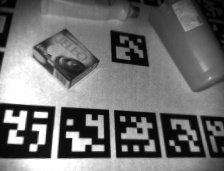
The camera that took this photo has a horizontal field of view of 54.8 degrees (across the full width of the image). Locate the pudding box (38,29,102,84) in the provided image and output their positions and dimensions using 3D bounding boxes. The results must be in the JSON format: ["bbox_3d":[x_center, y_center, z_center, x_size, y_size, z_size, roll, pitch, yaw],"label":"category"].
[{"bbox_3d":[-0.094,-0.071,0.487,0.113,0.038,0.090,45,55,5],"label":"pudding box"}]

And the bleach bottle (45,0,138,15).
[{"bbox_3d":[-0.043,-0.227,0.571,0.253,0.067,0.102,2,69,-19],"label":"bleach bottle"}]

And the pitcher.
[{"bbox_3d":[0.217,-0.120,0.586,0.191,0.132,0.241,-7,69,-57],"label":"pitcher"}]
